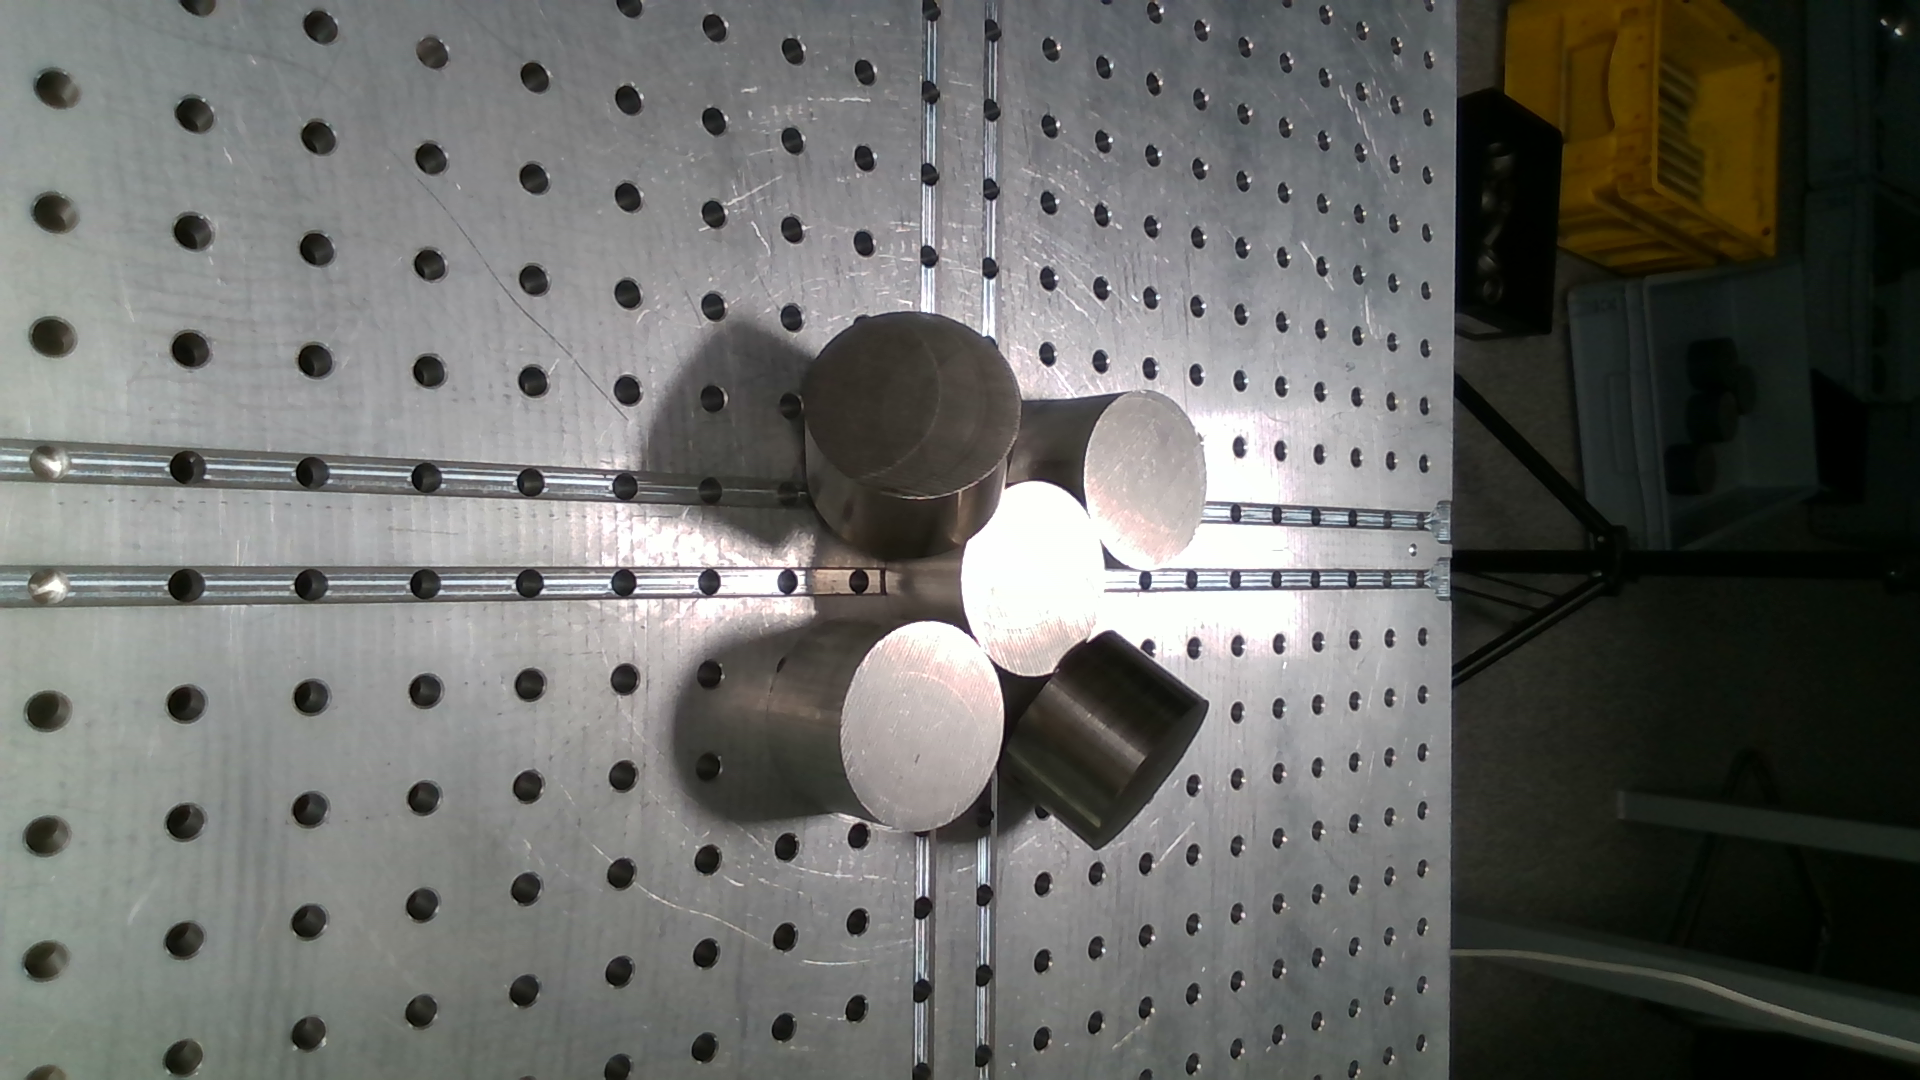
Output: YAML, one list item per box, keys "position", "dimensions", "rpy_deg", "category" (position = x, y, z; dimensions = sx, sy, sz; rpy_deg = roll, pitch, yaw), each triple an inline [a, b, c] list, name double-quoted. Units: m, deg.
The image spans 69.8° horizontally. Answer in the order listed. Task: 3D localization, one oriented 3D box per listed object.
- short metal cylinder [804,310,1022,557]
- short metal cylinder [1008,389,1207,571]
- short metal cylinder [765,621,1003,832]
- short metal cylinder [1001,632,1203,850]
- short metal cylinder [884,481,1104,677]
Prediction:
- position: [-0.019, -0.040, 0.526]
  dimensions: [0.080, 0.050, 0.080]
  rpy_deg: [2, 64, -5]
  category: "short metal cylinder"
- position: [0.067, -0.026, 0.626]
  dimensions: [0.080, 0.050, 0.080]
  rpy_deg: [0, 90, -40]
  category: "short metal cylinder"
- position: [-0.030, 0.071, 0.545]
  dimensions: [0.080, 0.050, 0.080]
  rpy_deg: [0, 90, -40]
  category: "short metal cylinder"
- position: [0.063, 0.087, 0.596]
  dimensions: [0.080, 0.050, 0.080]
  rpy_deg: [-43, 157, -23]
  category: "short metal cylinder"
- position: [0.015, 0.016, 0.582]
  dimensions: [0.080, 0.050, 0.080]
  rpy_deg: [0, 90, -40]
  category: "short metal cylinder"
